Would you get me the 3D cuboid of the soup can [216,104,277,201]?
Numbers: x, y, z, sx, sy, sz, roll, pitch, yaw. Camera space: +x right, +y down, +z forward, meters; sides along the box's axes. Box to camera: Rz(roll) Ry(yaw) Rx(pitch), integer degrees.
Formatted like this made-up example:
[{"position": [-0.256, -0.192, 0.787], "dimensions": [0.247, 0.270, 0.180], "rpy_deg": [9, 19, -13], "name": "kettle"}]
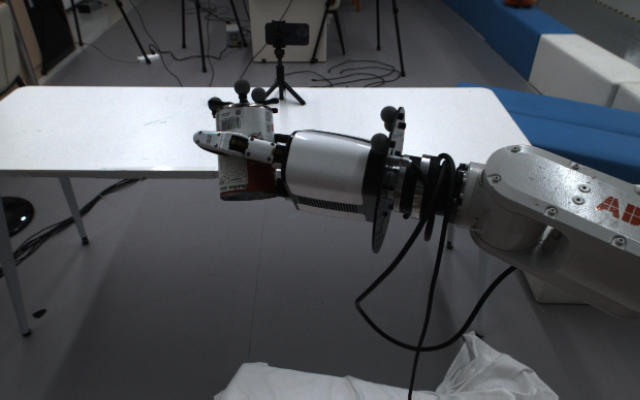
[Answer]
[{"position": [-0.082, -0.052, 0.557], "dimensions": [0.067, 0.101, 0.067], "rpy_deg": [-5, -5, 0], "name": "soup can"}]
